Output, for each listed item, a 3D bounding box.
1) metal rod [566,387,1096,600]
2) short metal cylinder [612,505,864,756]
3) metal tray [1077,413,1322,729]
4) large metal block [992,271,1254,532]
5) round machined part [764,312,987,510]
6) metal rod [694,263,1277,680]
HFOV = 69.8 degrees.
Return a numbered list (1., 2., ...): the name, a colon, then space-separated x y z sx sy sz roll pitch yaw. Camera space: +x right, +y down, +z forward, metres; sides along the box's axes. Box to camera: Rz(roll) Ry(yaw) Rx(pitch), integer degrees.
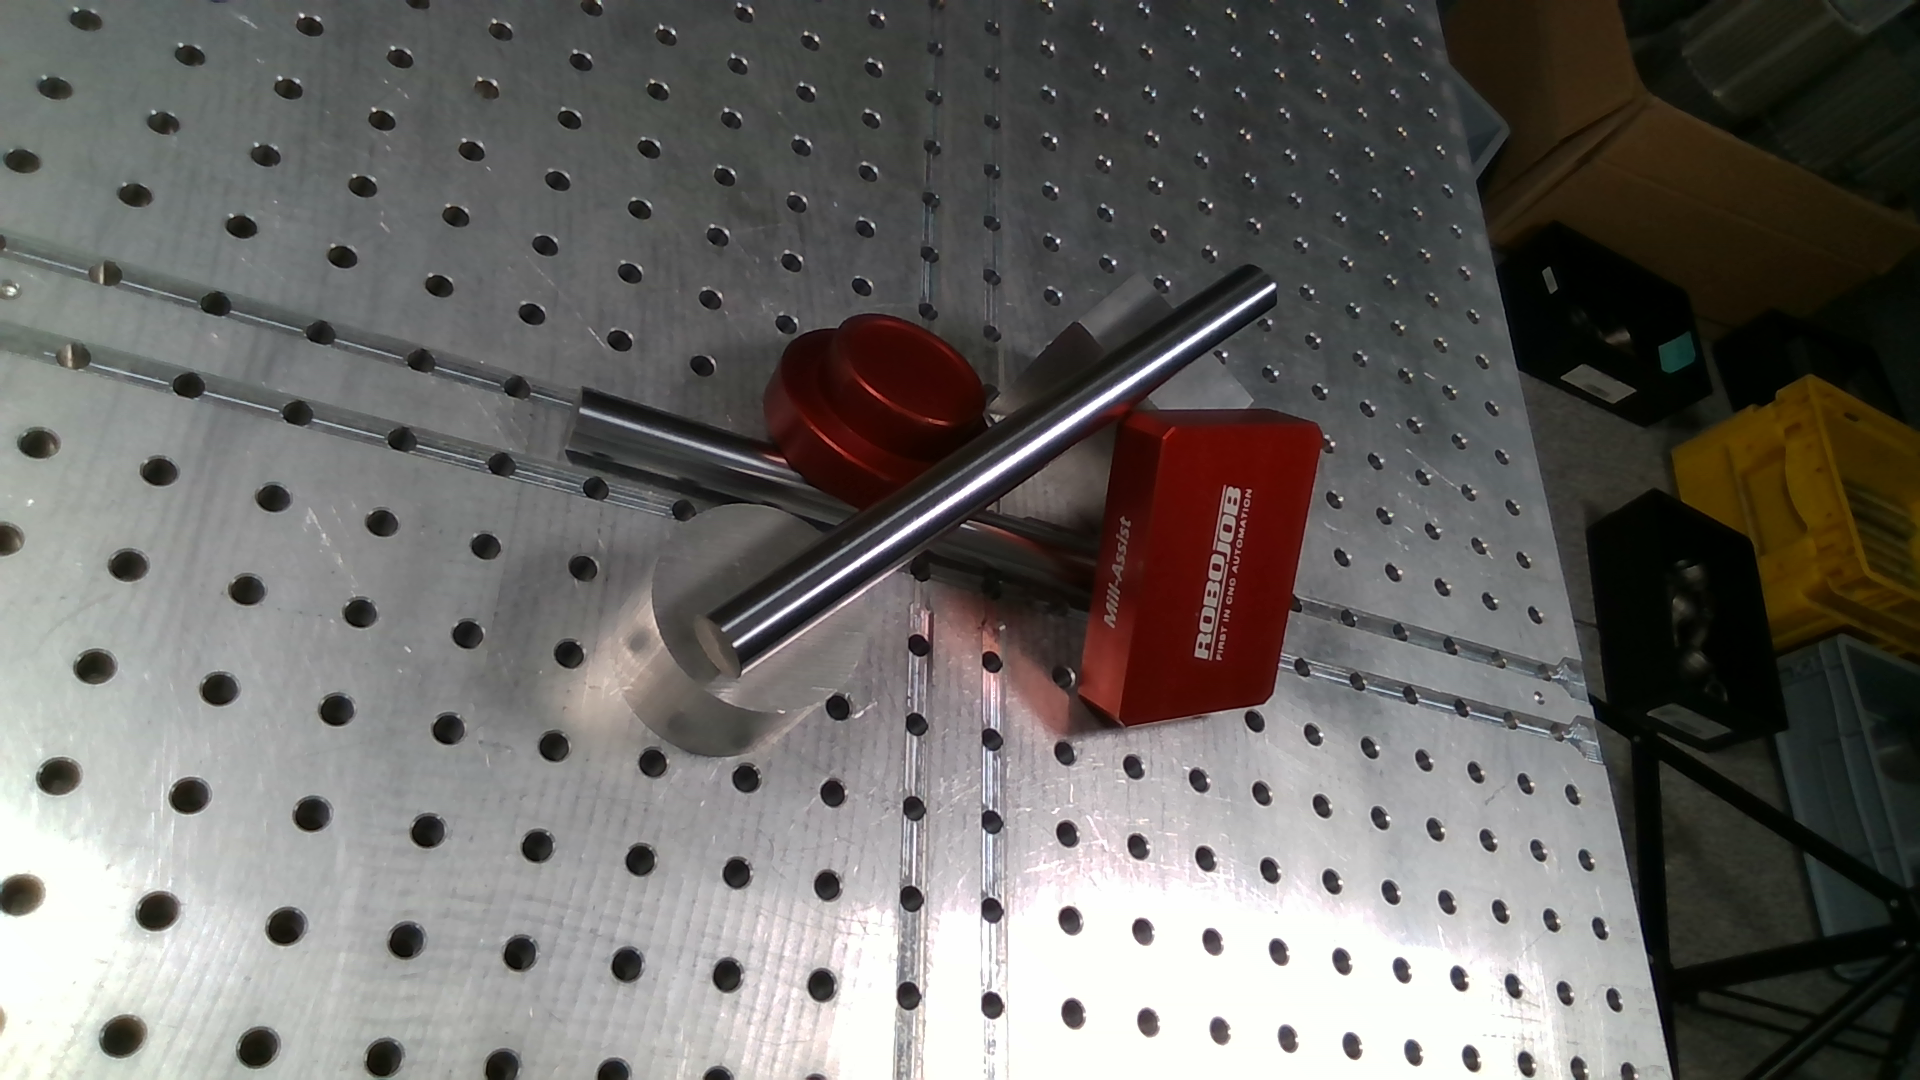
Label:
1. metal rod: -0.015 -0.007 0.584 0.300 0.025 0.025 16 58 -24
2. short metal cylinder: -0.082 0.034 0.505 0.080 0.050 0.080 14 59 -25
3. metal tray: 0.103 0.011 0.593 0.090 0.030 0.130 -4 109 -33
4. large metal block: 0.072 -0.061 0.632 0.080 0.080 0.050 48 51 0
5. round machined part: -0.029 -0.056 0.570 0.098 0.042 0.098 21 39 -18
6. metal rod: 0.025 -0.038 0.533 0.300 0.025 0.025 -35 86 -31
